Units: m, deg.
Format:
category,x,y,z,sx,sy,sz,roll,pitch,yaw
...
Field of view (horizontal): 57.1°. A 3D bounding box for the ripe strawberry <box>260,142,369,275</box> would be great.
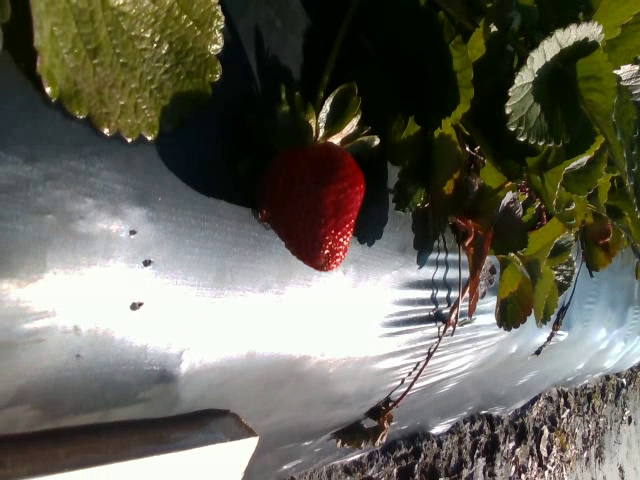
category,x,y,z,sx,sy,sz,roll,pitch,yaw
ripe strawberry,-0.003,-0.008,0.197,0.043,0.050,0.043,-8,-39,5
